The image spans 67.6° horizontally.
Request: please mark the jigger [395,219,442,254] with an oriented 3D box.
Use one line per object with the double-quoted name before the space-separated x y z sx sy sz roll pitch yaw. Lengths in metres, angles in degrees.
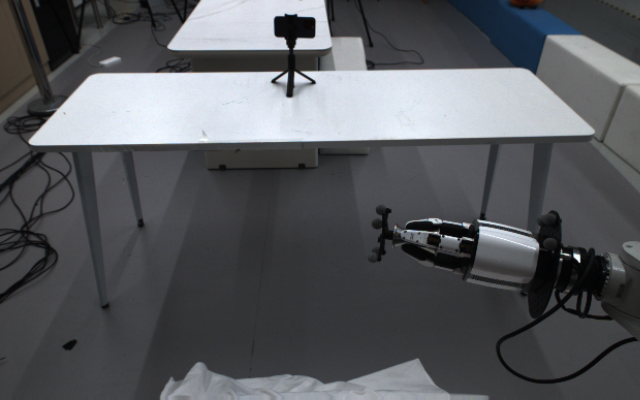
"jigger" 0.155 0.057 0.752 0.071 0.043 0.043 8 35 14
